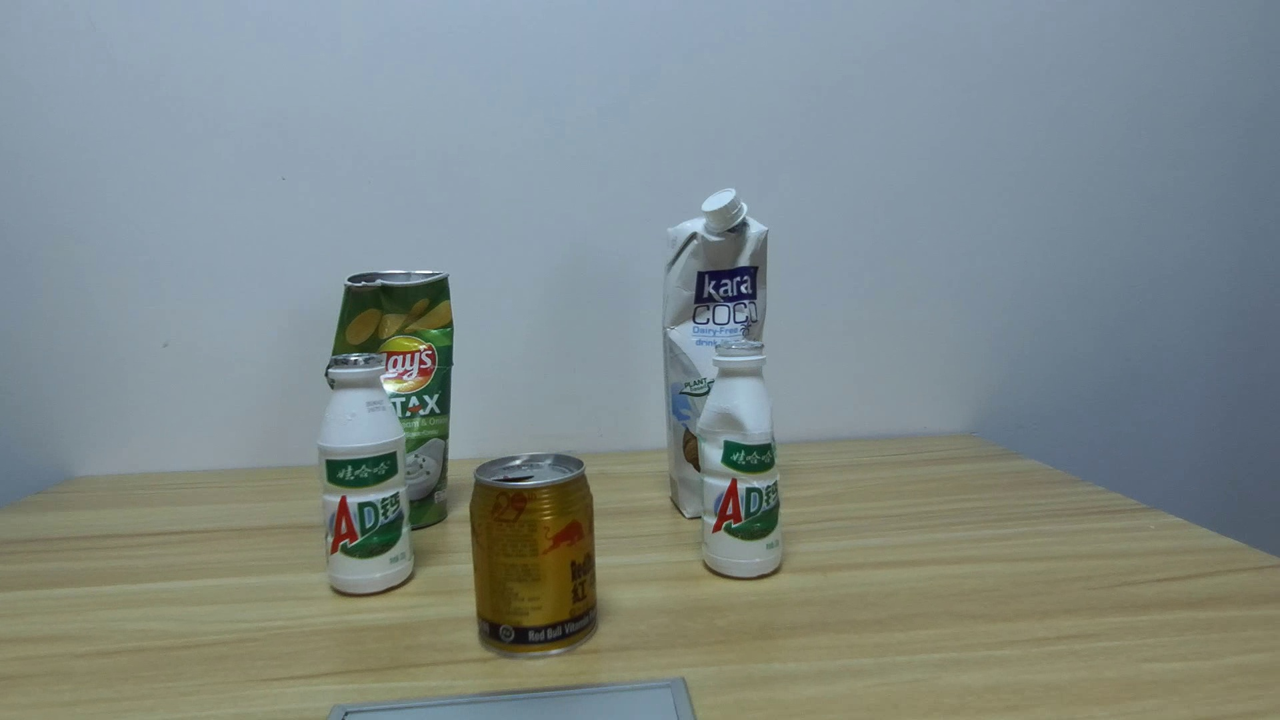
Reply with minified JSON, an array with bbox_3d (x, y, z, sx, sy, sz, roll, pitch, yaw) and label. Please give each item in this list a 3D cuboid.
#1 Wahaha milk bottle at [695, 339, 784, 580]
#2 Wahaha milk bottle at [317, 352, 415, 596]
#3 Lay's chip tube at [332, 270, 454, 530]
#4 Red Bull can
[{"bbox_3d":[0.064,0.062,0.454,0.055,0.149,0.055,-2,9,1],"label":"Wahaha milk bottle"},{"bbox_3d":[-0.175,0.071,0.449,0.053,0.147,0.053,-3,6,1],"label":"Wahaha milk bottle"},{"bbox_3d":[-0.195,0.031,0.567,0.069,0.201,0.077,2,11,23],"label":"Lay's chip tube"},{"bbox_3d":[-0.057,0.103,0.385,0.067,0.093,0.067,0,9,0],"label":"Red Bull can"}]
